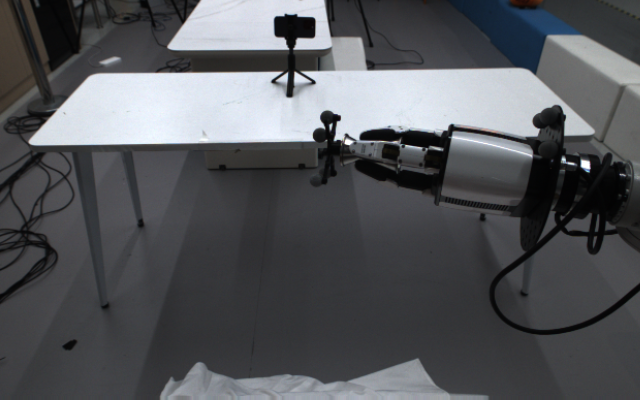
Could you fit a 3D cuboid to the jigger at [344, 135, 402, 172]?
[{"bbox_3d":[0.068,-0.058,0.572,0.071,0.043,0.043,7,35,15],"label":"jigger"}]
